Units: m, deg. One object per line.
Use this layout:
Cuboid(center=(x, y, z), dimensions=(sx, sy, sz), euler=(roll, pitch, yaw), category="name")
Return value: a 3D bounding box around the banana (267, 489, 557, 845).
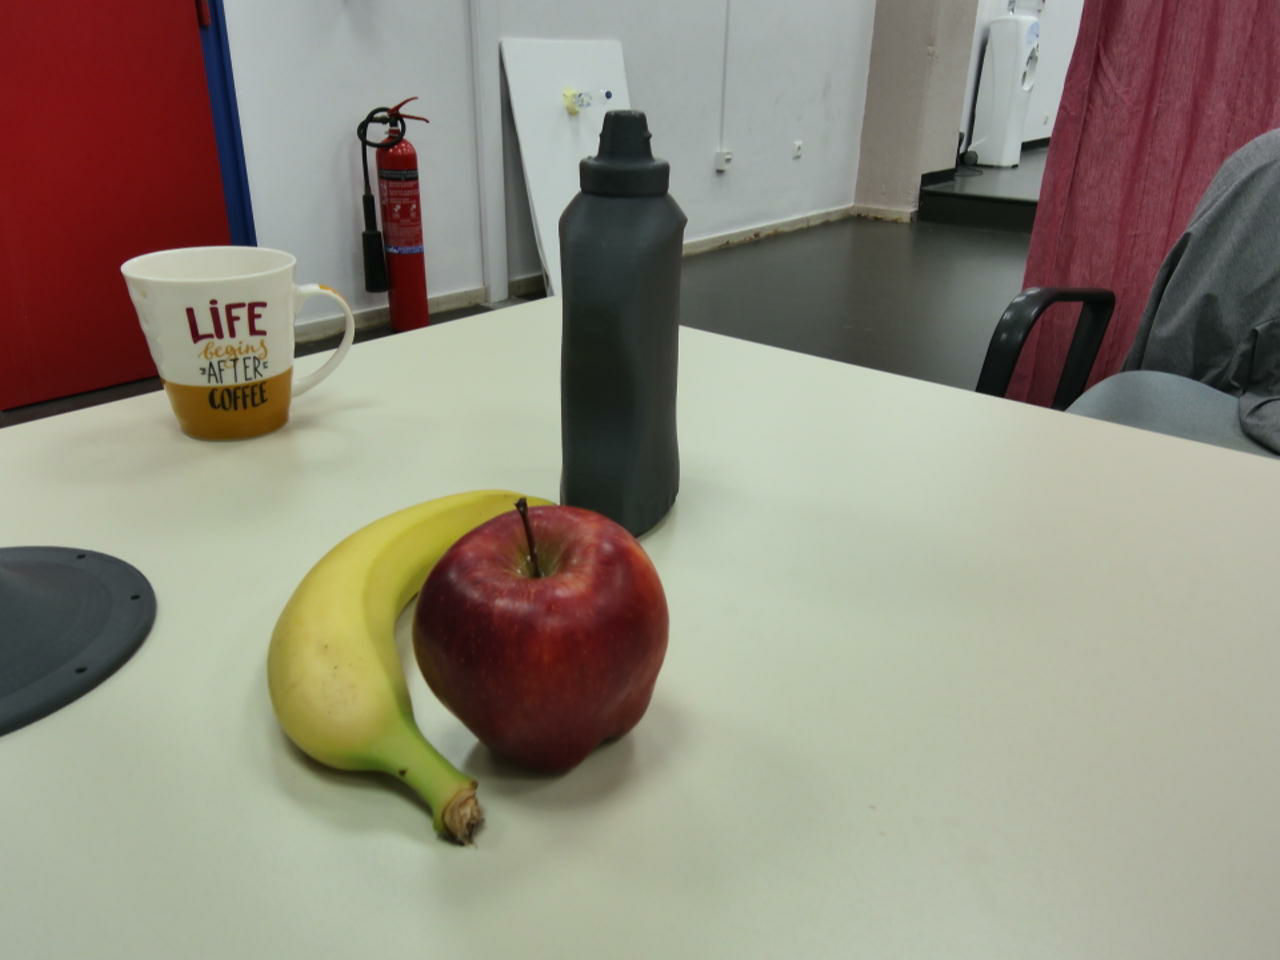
Cuboid(center=(-0.089, 0.052, 0.382), dimensions=(0.094, 0.041, 0.196), euler=(2, 22, 2), category="banana")
